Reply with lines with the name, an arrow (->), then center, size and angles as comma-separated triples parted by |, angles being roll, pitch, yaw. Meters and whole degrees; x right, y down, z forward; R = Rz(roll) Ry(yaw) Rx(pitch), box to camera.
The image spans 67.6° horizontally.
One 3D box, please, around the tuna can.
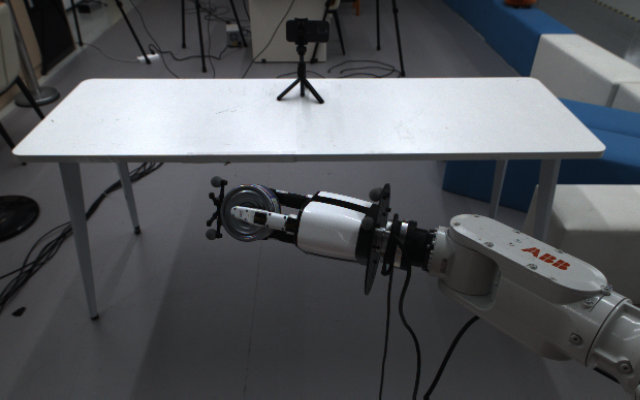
tuna can -> -0.102, 0.018, 0.717 | 0.085, 0.085, 0.034 | 10, 3, 11
